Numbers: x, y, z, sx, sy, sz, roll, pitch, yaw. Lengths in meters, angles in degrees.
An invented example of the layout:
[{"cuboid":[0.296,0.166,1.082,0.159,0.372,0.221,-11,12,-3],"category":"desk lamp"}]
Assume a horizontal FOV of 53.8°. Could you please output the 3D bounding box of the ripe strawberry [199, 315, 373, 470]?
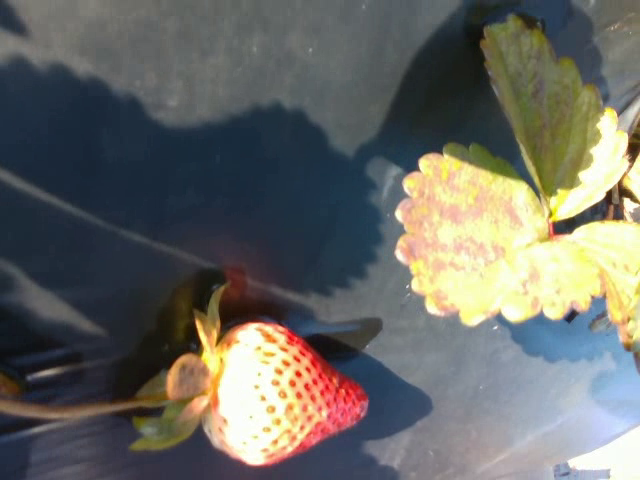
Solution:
[{"cuboid":[-0.006,0.044,0.171,0.063,0.044,0.044,8,-15,-27],"category":"ripe strawberry"}]
